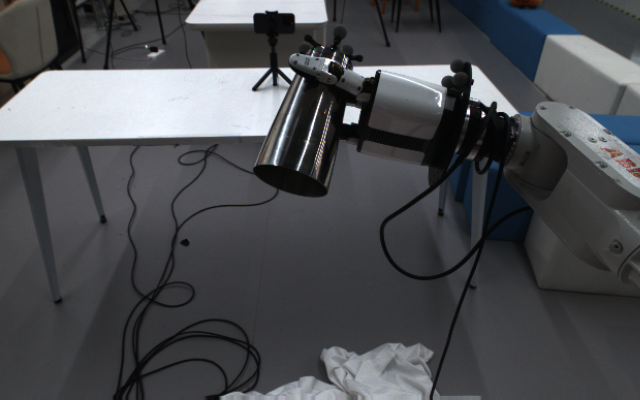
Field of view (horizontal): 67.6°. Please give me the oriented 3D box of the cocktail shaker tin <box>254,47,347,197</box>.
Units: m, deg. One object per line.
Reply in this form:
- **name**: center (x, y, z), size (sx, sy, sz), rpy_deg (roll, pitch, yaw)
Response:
- **cocktail shaker tin**: center (-0.011, -0.102, 0.597), size (0.093, 0.093, 0.170), rpy_deg (12, 72, 14)
